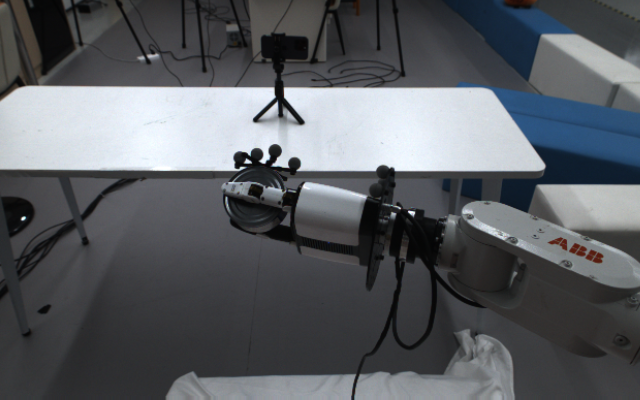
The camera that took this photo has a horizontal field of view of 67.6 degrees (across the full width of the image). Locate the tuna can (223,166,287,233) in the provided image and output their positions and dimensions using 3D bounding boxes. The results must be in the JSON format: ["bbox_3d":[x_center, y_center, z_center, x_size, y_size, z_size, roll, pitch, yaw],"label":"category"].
[{"bbox_3d":[-0.084,-0.001,0.650,0.085,0.034,0.085,-3,69,8],"label":"tuna can"}]
